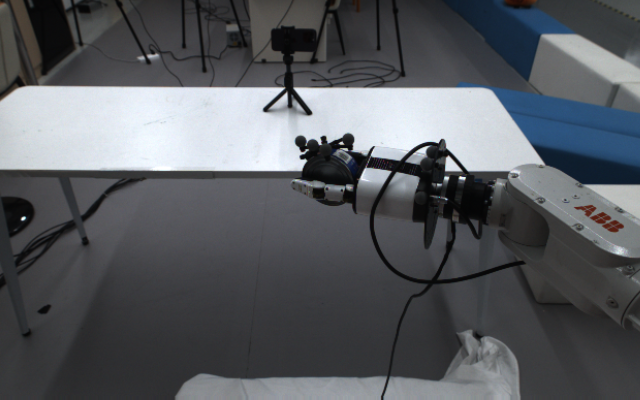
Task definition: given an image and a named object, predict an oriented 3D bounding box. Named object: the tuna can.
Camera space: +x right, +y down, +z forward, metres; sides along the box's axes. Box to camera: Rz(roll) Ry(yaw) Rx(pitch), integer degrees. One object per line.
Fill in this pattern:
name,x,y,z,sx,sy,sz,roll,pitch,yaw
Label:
tuna can,0.019,-0.037,0.733,0.085,0.085,0.034,17,36,20
